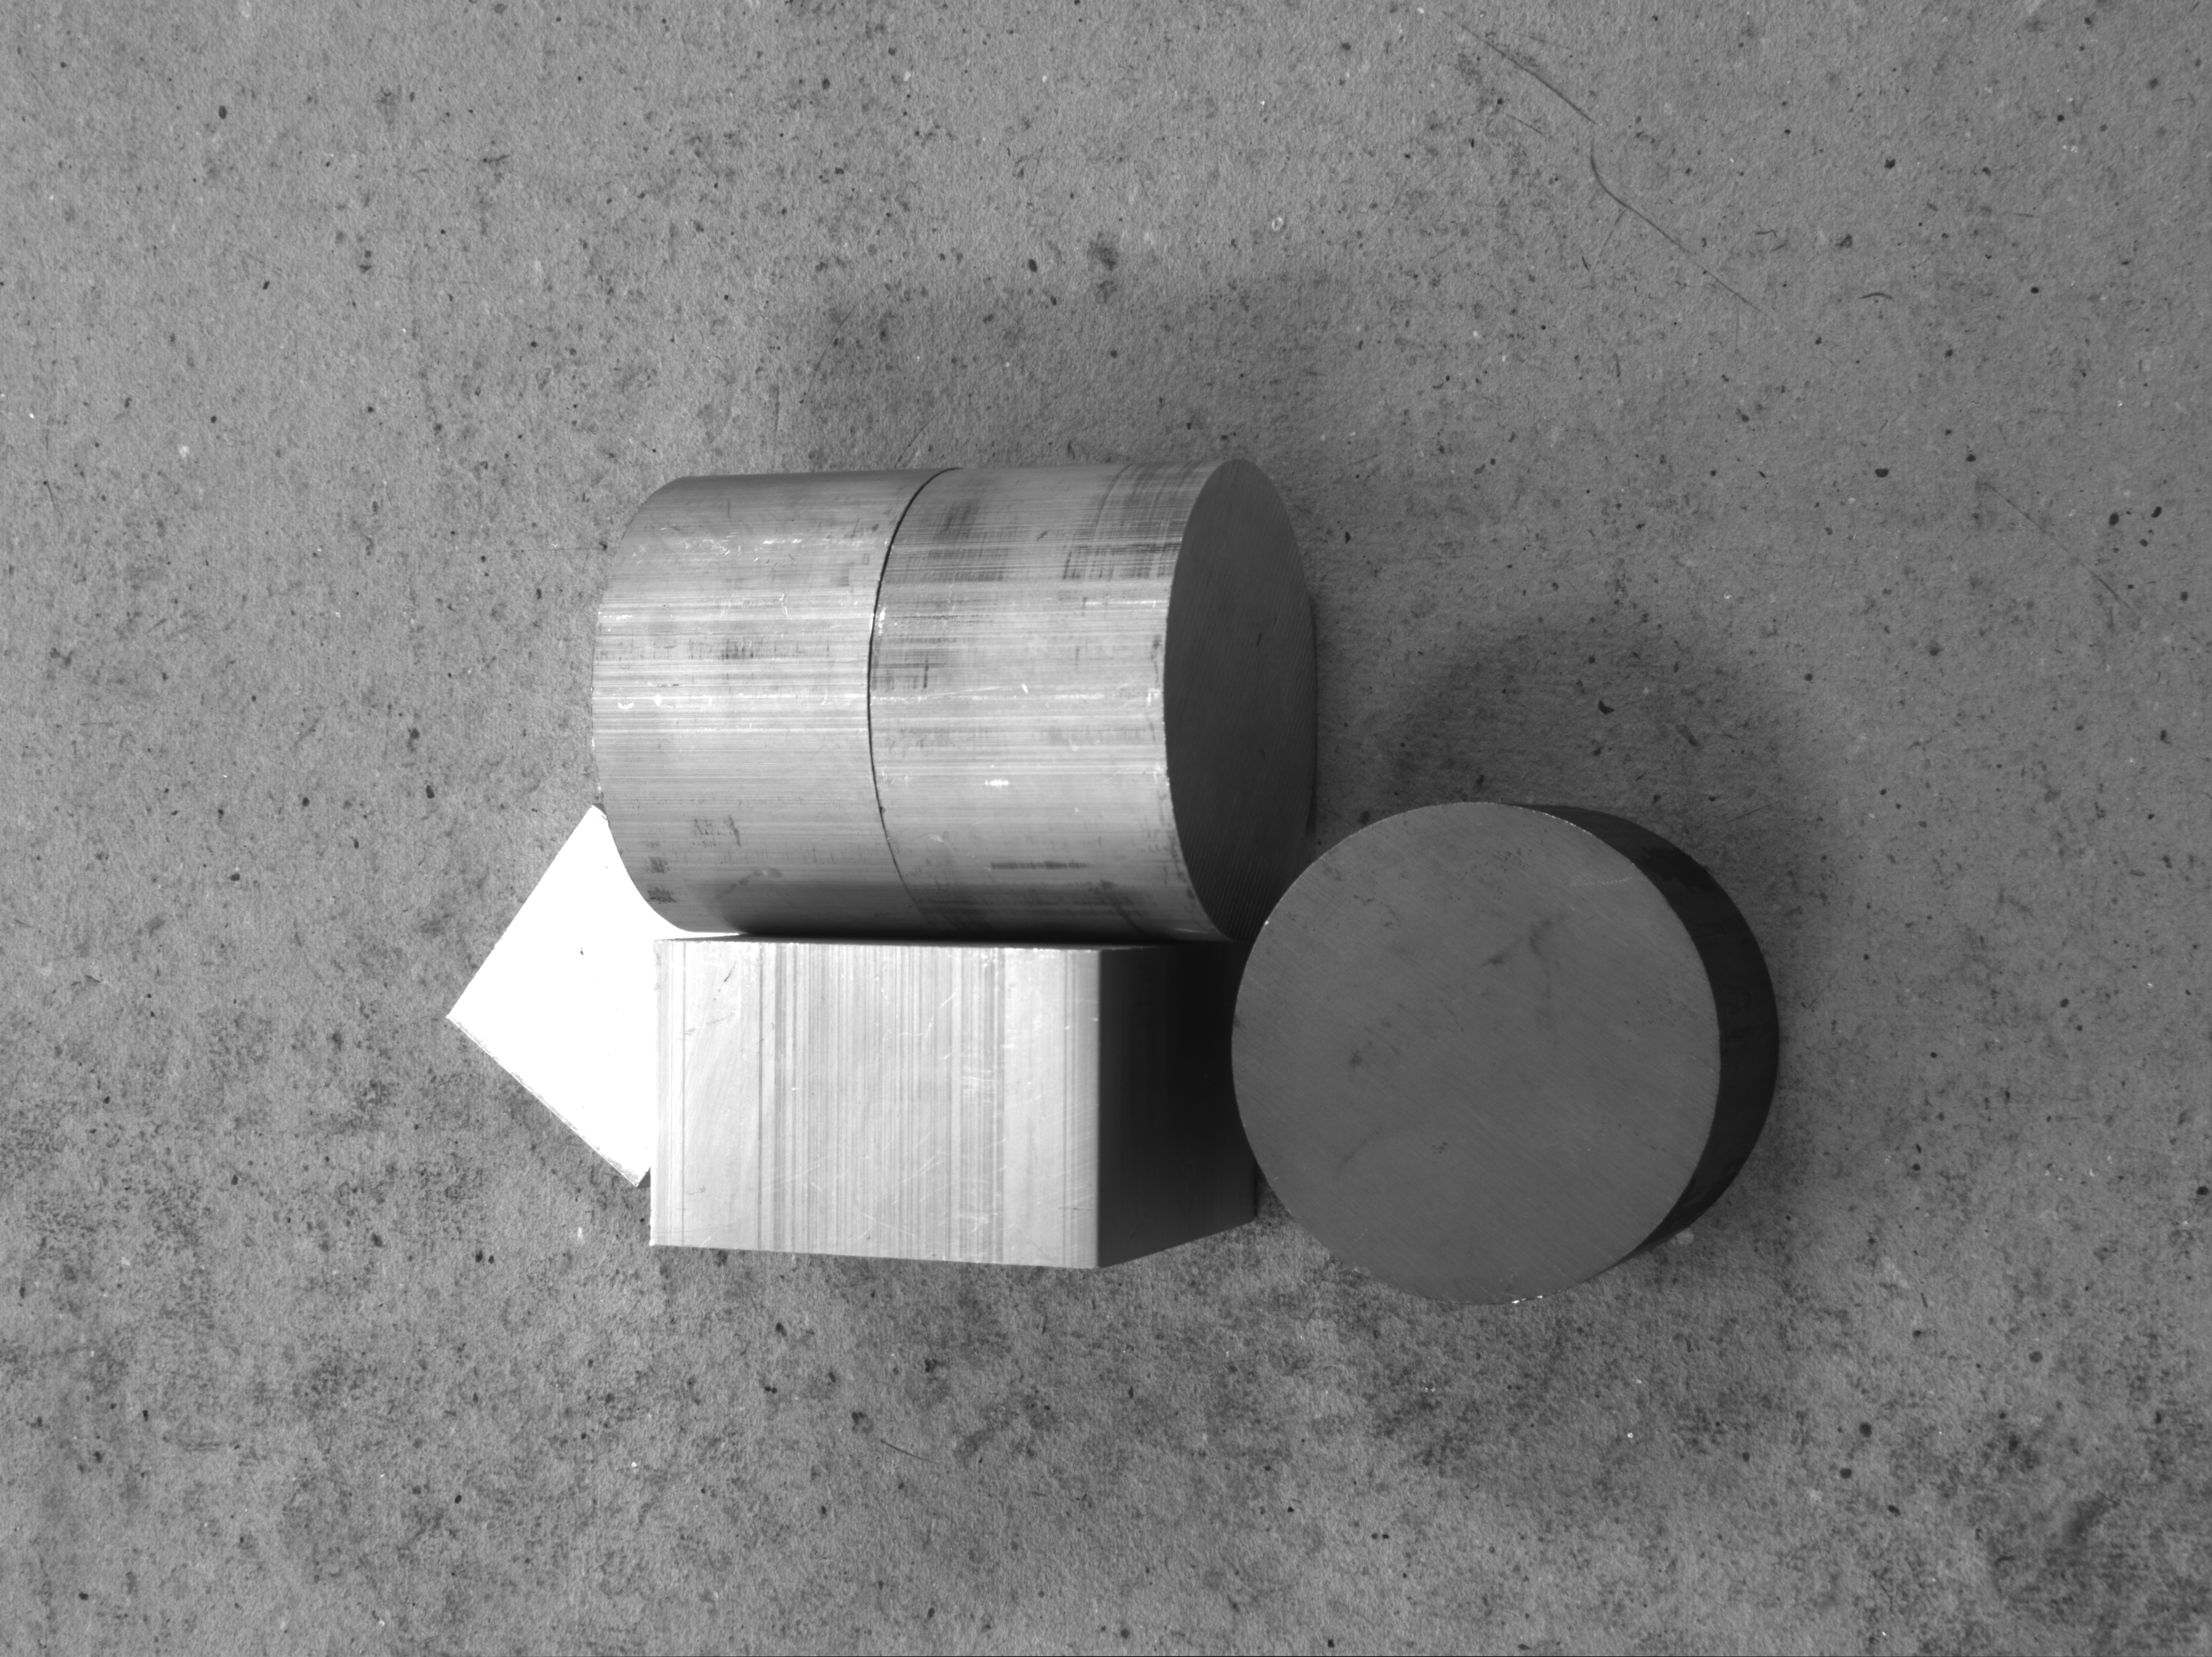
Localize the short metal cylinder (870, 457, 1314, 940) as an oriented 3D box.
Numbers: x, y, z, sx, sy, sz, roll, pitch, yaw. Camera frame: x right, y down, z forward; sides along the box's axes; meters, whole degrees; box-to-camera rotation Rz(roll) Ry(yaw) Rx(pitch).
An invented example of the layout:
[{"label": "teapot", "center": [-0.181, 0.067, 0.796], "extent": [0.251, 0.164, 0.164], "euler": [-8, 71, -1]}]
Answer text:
[{"label": "short metal cylinder", "center": [-0.001, -0.022, 0.618], "extent": [0.050, 0.080, 0.080], "euler": [1, 90, 20]}]

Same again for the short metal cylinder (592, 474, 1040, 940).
[{"label": "short metal cylinder", "center": [-0.048, -0.021, 0.636], "extent": [0.050, 0.080, 0.080], "euler": [1, 90, 20]}]

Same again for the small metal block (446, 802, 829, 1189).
[{"label": "small metal block", "center": [-0.085, 0.030, 0.678], "extent": [0.050, 0.025, 0.050], "euler": [39, 103, 16]}]

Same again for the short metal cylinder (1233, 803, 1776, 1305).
[{"label": "short metal cylinder", "center": [0.067, 0.036, 0.609], "extent": [0.080, 0.050, 0.080], "euler": [0, 90, 20]}]

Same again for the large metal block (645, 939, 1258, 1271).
[{"label": "large metal block", "center": [-0.024, 0.044, 0.627], "extent": [0.080, 0.080, 0.050], "euler": [1, 90, 20]}]
